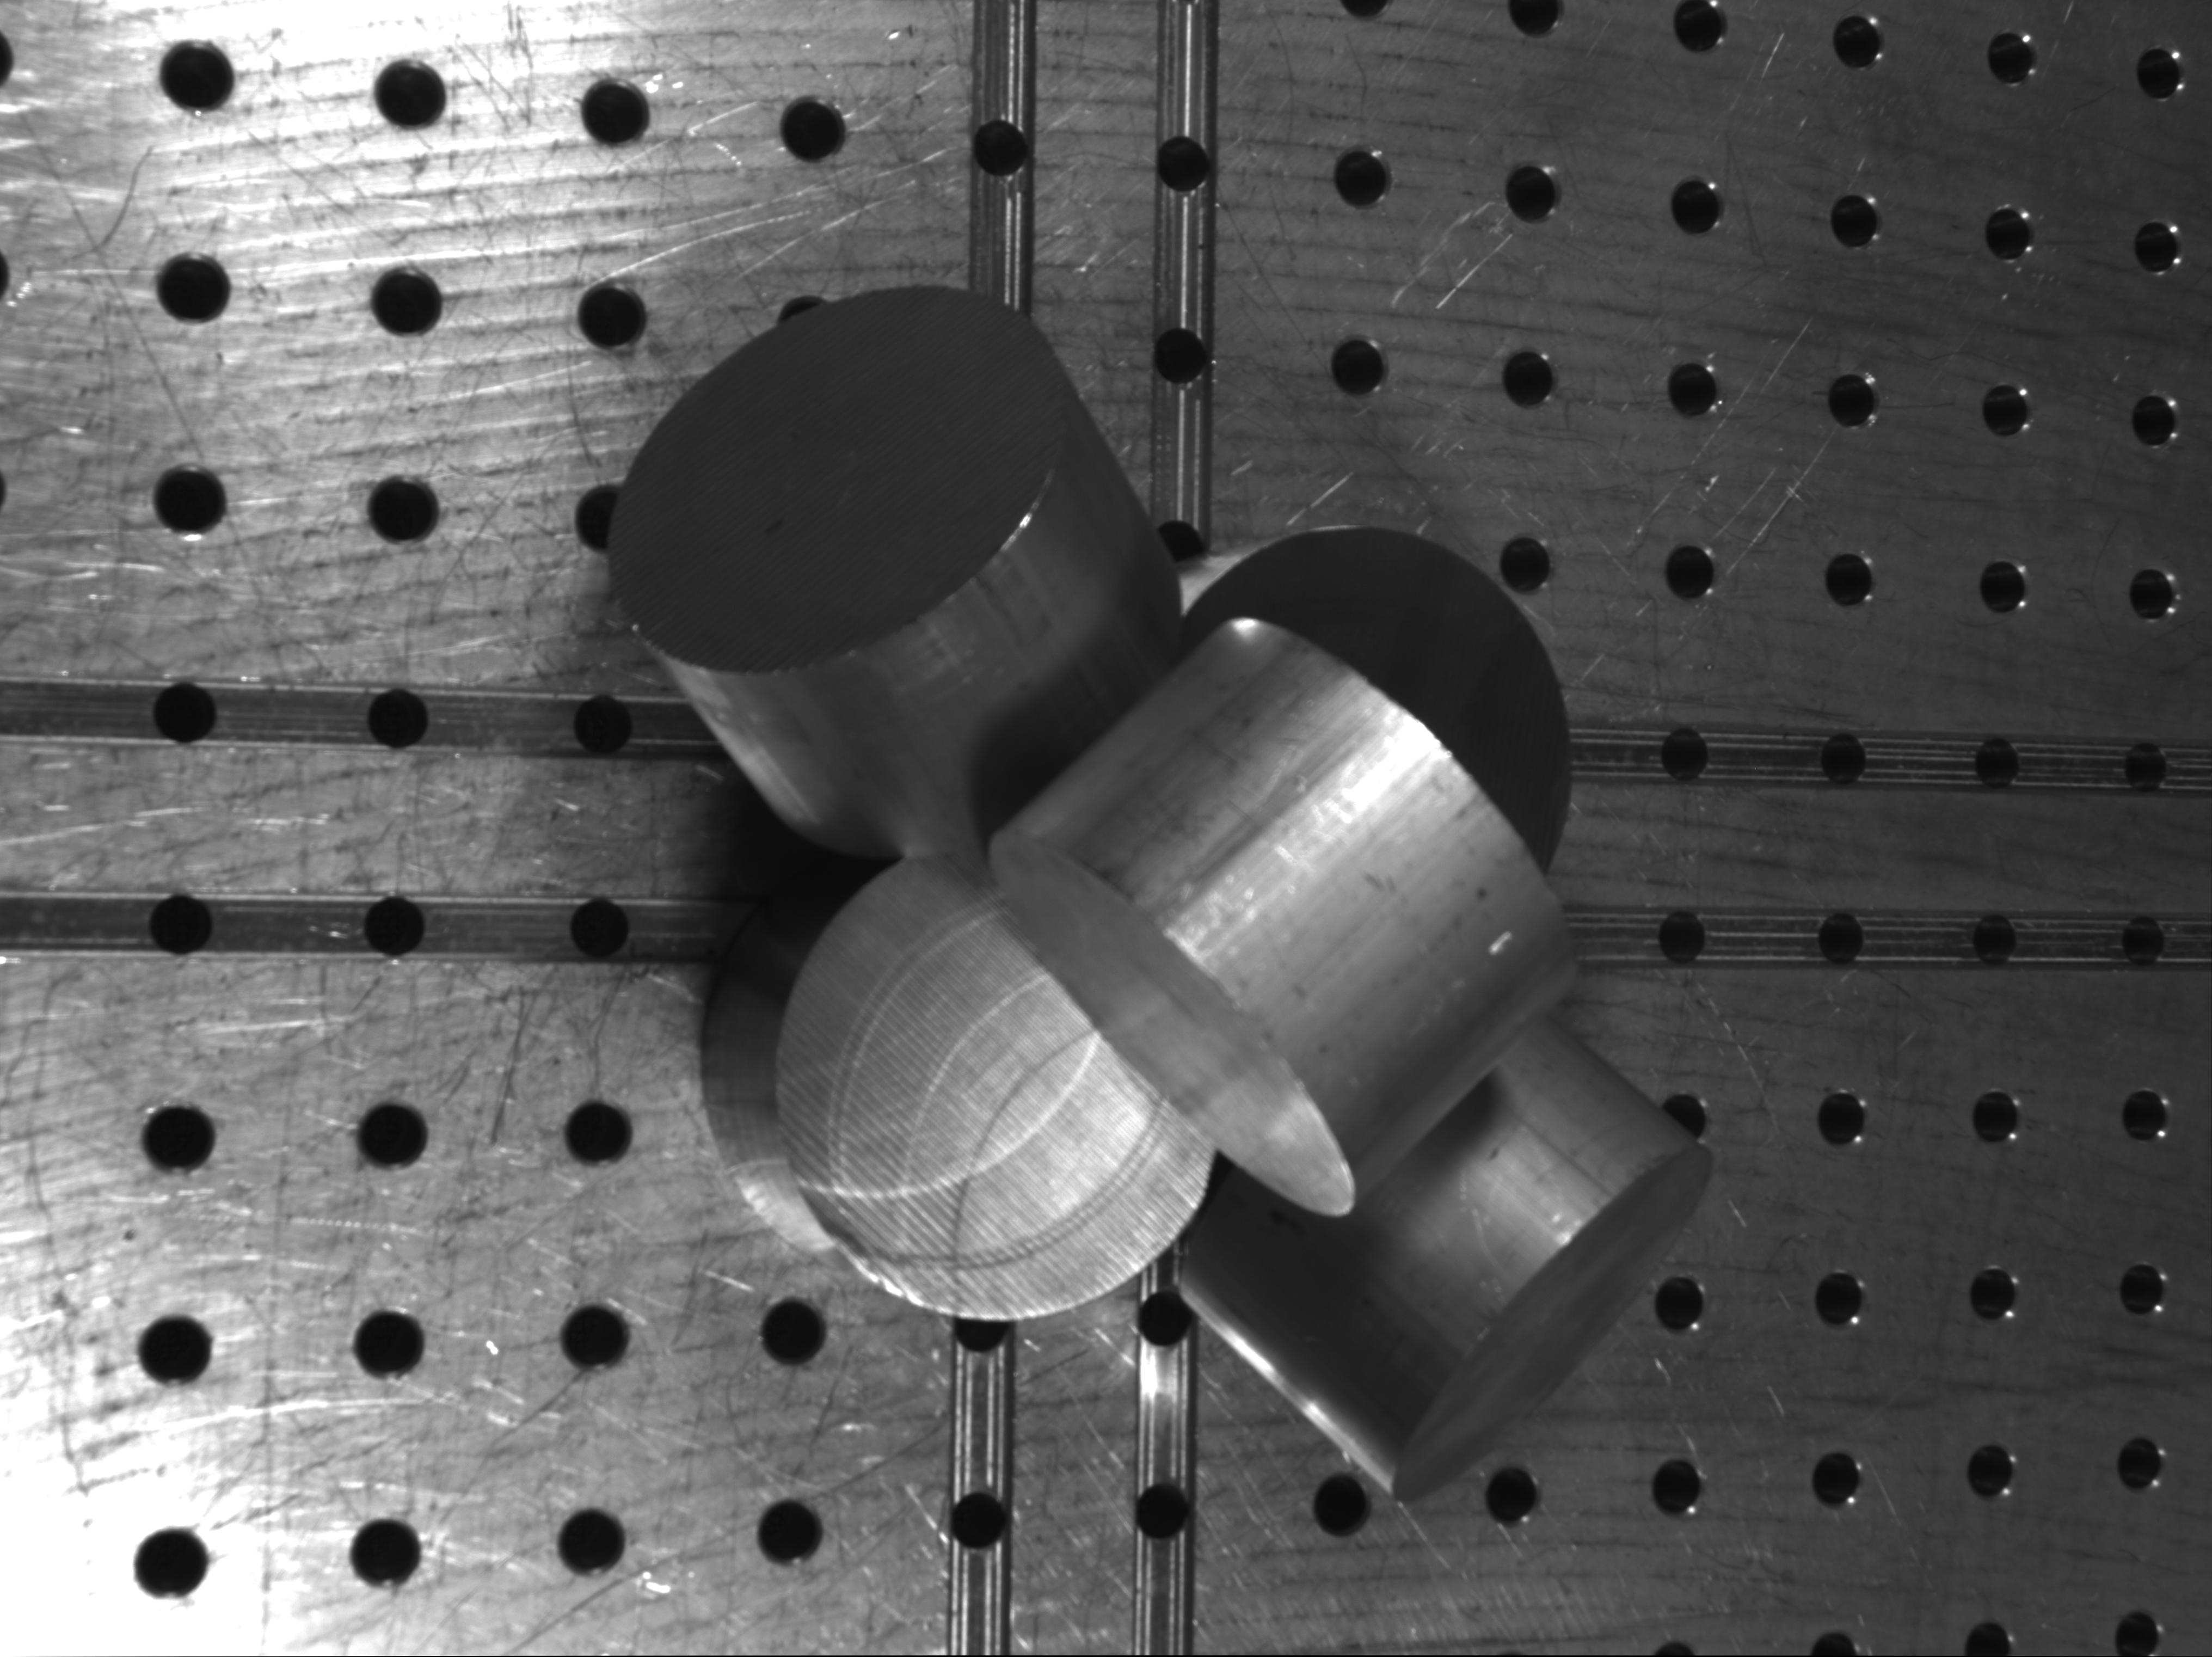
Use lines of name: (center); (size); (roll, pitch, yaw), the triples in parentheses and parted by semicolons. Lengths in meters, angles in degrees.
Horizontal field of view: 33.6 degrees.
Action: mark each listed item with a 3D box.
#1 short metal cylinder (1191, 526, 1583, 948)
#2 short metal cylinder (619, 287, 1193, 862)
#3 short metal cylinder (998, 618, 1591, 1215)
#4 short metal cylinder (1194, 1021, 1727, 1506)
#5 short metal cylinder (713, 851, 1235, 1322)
short metal cylinder: (0.037, -0.011, 0.645); (0.080, 0.050, 0.080); (0, 90, -20)
short metal cylinder: (-0.032, -0.042, 0.598); (0.080, 0.080, 0.050); (-48, 139, -14)
short metal cylinder: (0.029, 0.014, 0.573); (0.050, 0.080, 0.080); (-43, 103, -15)
short metal cylinder: (0.061, 0.070, 0.631); (0.080, 0.080, 0.050); (-42, 68, -15)
short metal cylinder: (-0.022, 0.041, 0.624); (0.080, 0.050, 0.080); (0, 90, -20)
